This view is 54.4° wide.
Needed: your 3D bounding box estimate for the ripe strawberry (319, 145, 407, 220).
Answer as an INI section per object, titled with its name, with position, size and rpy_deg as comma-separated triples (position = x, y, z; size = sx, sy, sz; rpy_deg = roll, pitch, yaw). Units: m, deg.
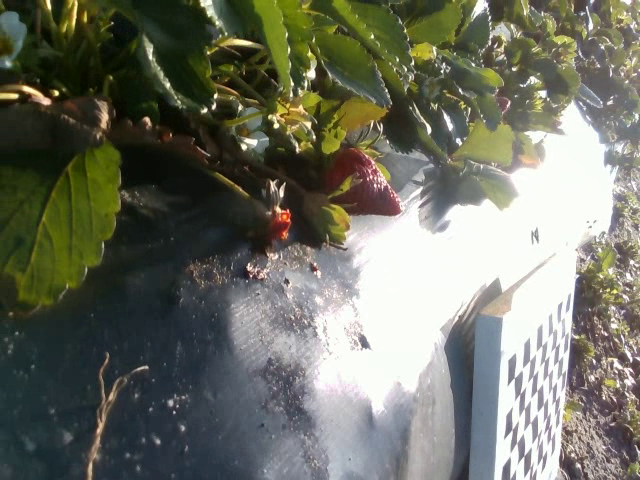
[ripe strawberry]
position = 0.030, -0.030, 0.369
size = 0.051, 0.052, 0.041
rpy_deg = 28, -40, 8
